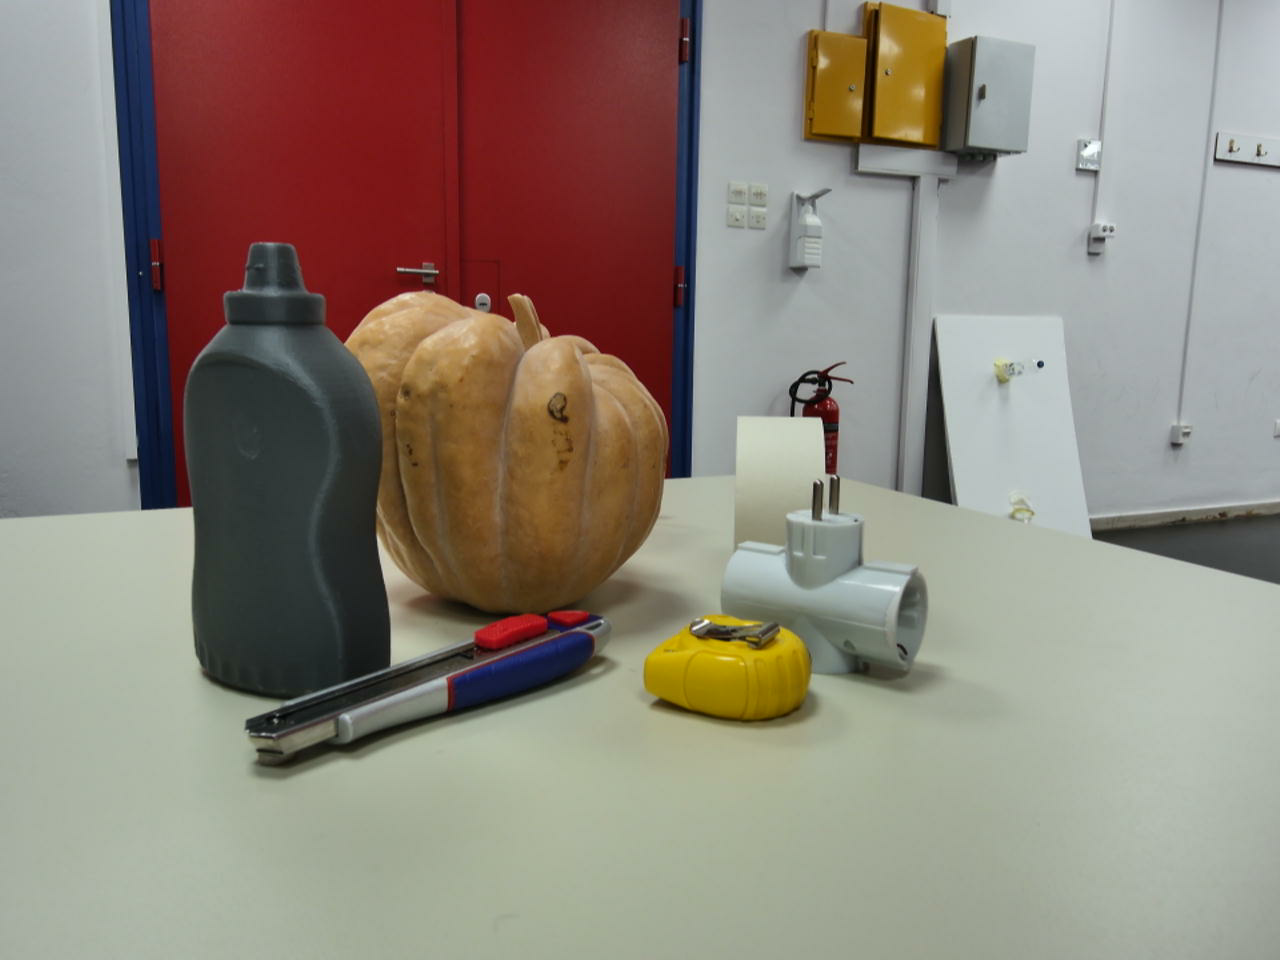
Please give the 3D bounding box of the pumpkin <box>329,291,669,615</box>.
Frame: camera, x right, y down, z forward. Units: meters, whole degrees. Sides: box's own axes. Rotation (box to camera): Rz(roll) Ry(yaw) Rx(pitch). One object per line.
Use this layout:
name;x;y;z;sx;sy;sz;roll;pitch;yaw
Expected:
pumpkin;-0.079;-0.017;0.568;0.199;0.177;0.198;0;8;0
